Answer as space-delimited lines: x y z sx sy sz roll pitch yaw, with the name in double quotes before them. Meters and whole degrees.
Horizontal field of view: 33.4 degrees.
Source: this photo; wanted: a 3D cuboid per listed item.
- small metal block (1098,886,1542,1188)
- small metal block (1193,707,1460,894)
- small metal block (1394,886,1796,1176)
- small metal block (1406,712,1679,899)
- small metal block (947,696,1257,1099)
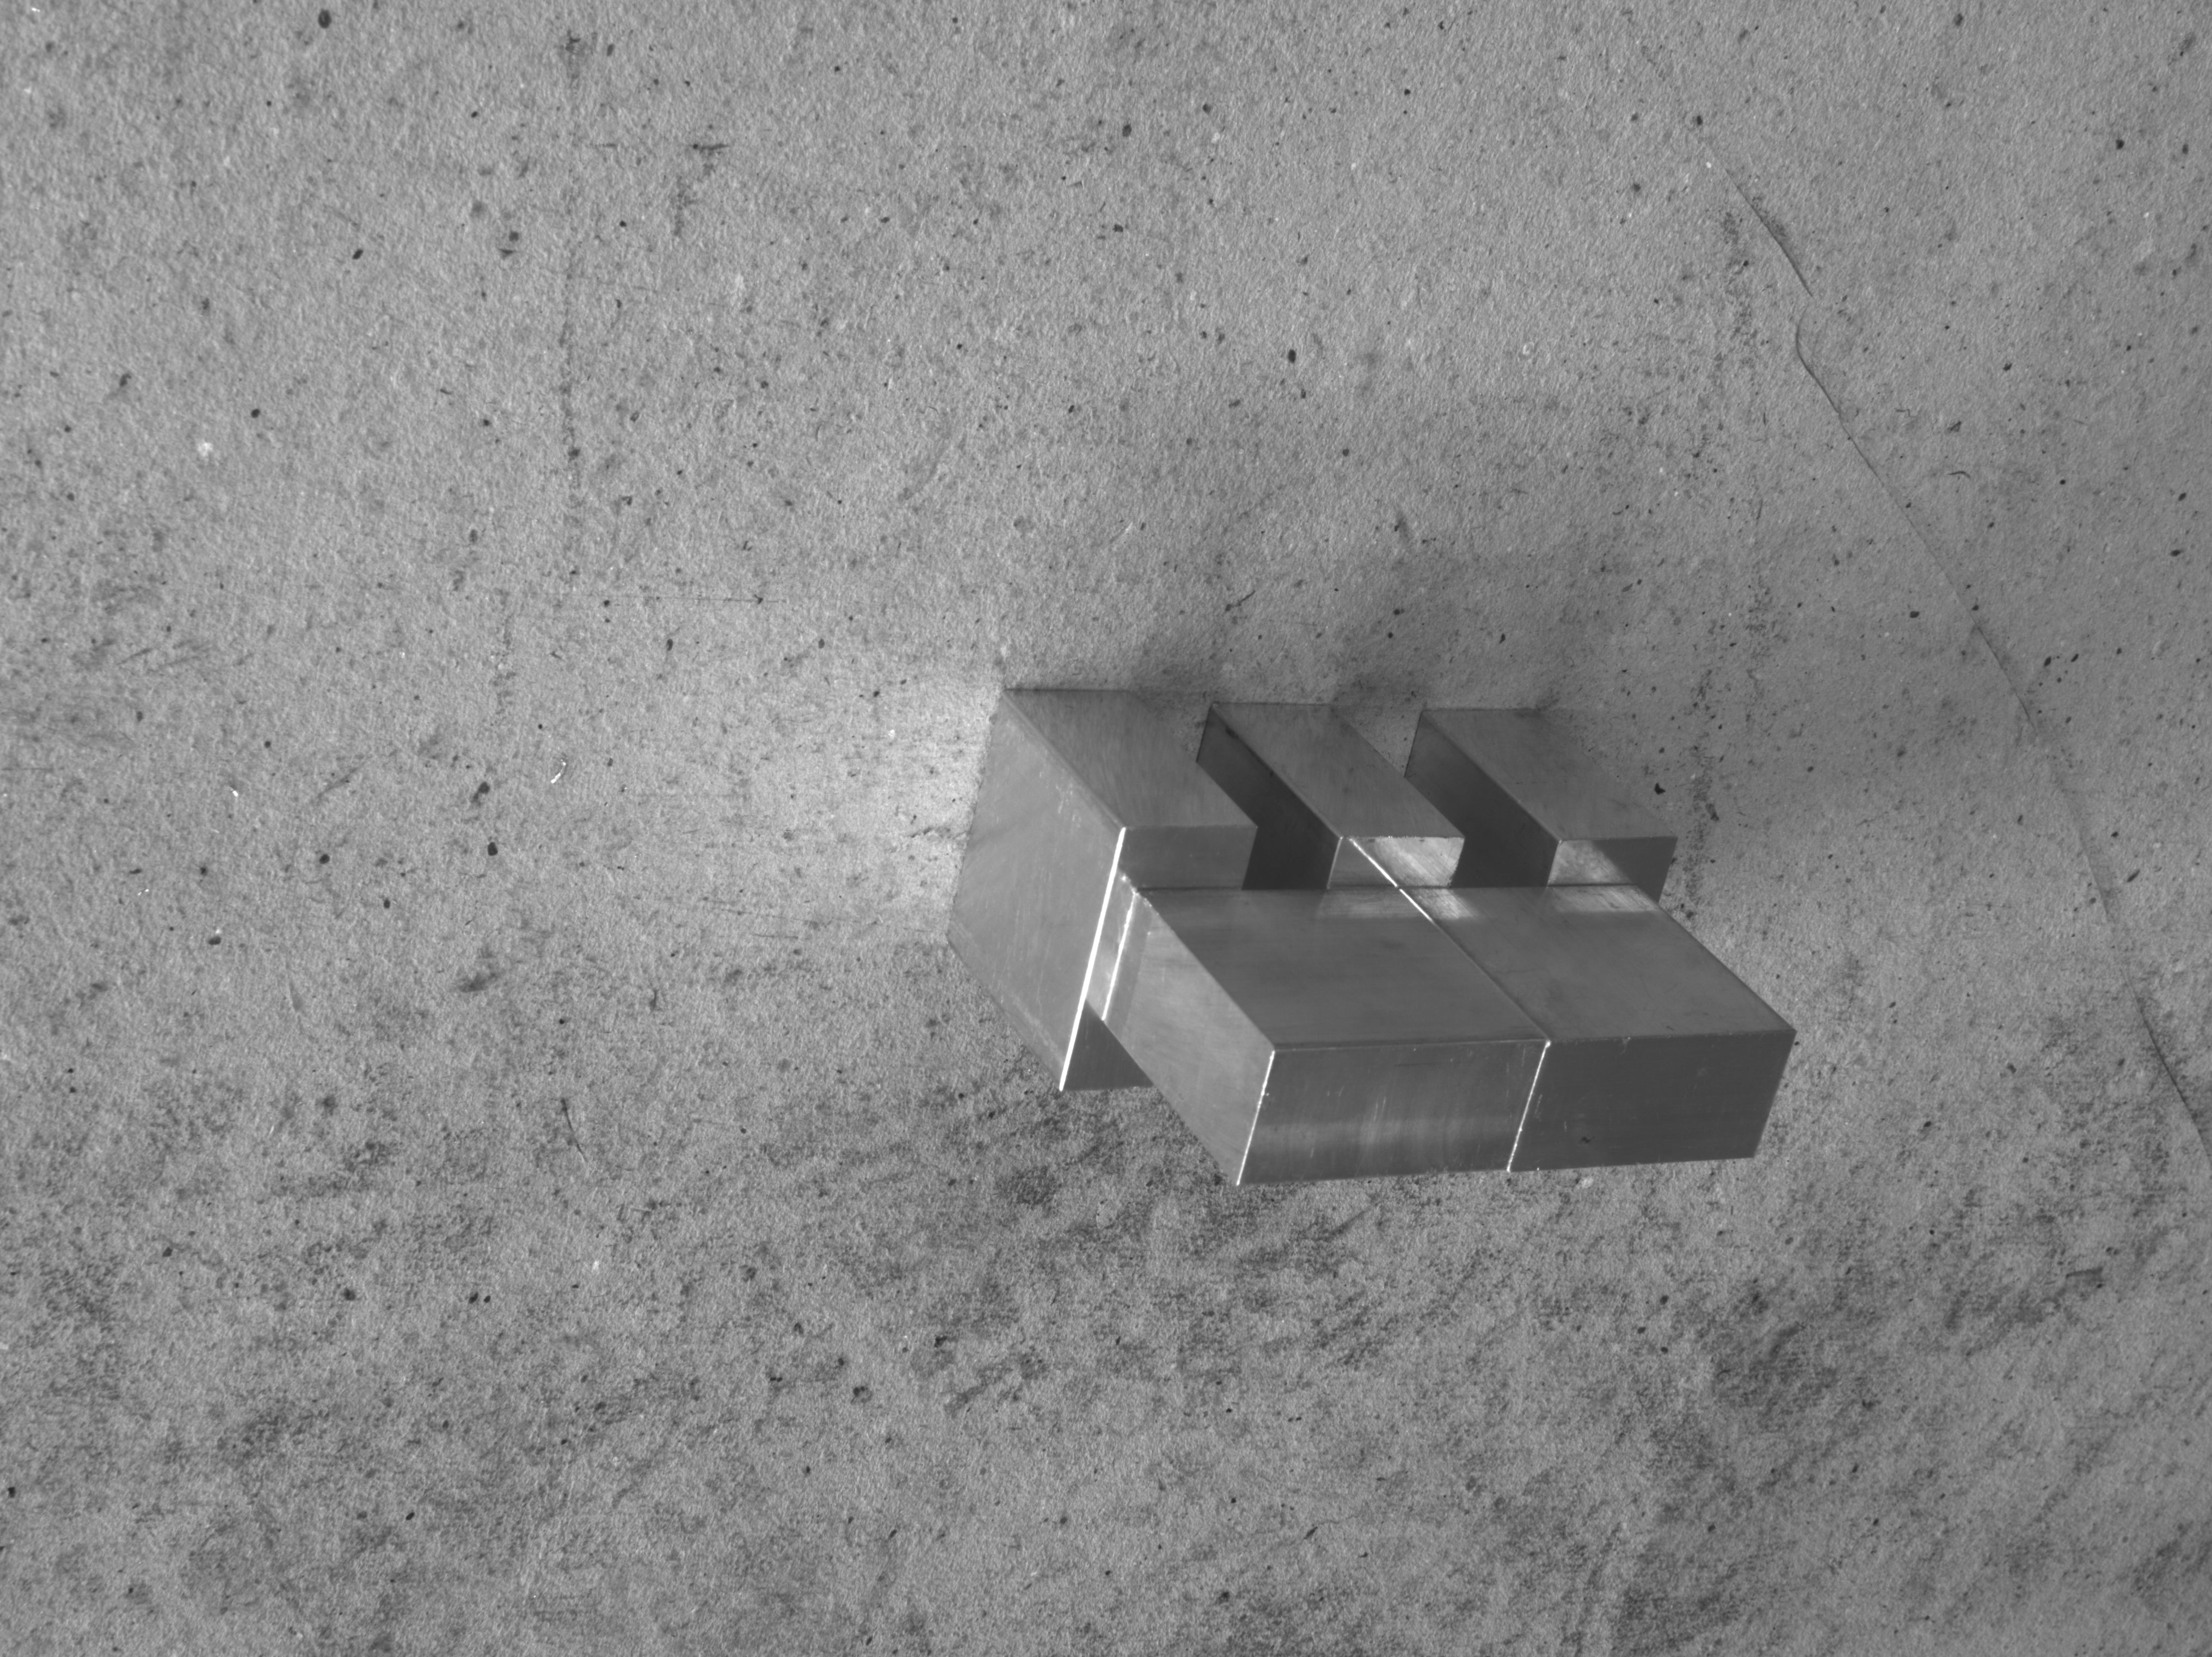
"small metal block" 0.034 0.033 0.596 0.050 0.050 0.025 0 118 -28
"small metal block" 0.034 0.012 0.648 0.025 0.050 0.050 -1 118 -27
"small metal block" 0.078 0.033 0.620 0.050 0.050 0.025 0 118 -28
"small metal block" 0.074 0.012 0.669 0.025 0.050 0.050 -1 118 -27
"small metal block" -0.002 0.011 0.627 0.025 0.050 0.050 0 118 -27
